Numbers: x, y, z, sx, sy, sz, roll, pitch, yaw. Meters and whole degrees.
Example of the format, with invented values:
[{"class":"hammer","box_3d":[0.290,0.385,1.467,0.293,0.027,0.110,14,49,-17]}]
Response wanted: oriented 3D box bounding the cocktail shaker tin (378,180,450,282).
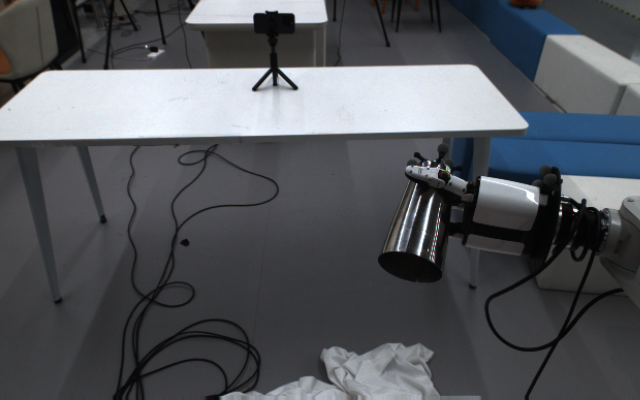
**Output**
[{"class":"cocktail shaker tin","box_3d":[0.152,0.023,0.721,0.093,0.093,0.170,13,59,16]}]
